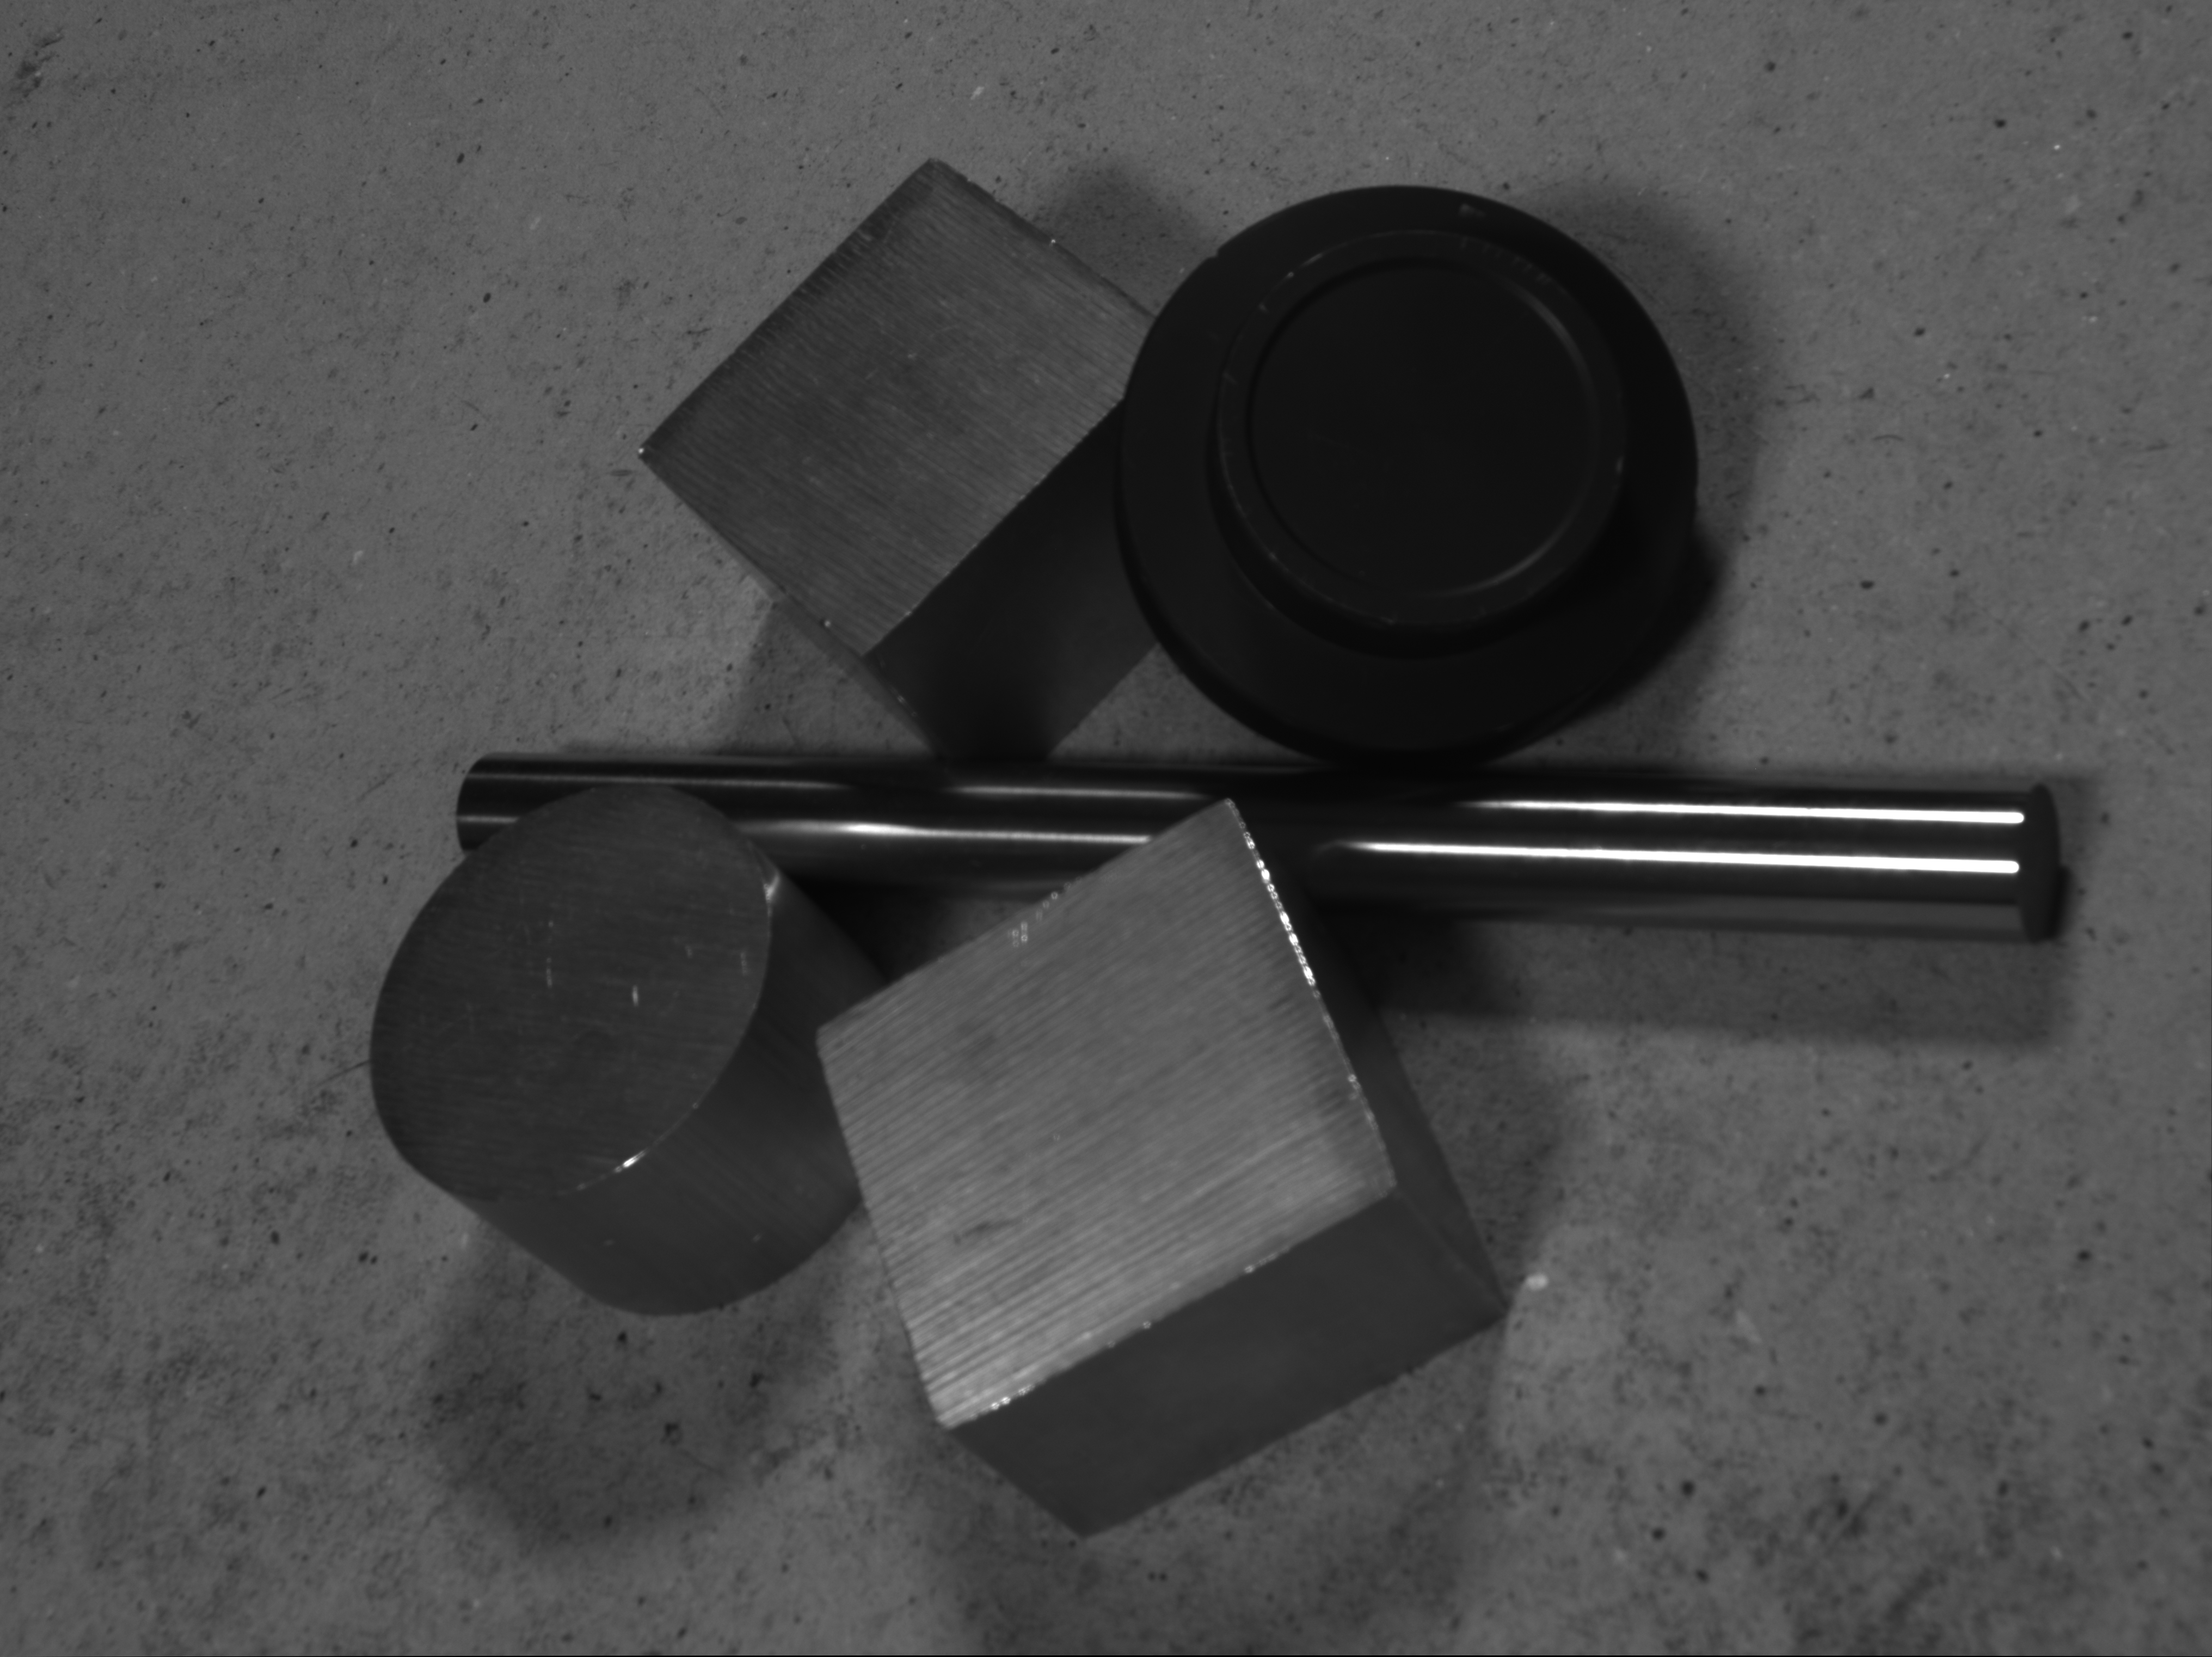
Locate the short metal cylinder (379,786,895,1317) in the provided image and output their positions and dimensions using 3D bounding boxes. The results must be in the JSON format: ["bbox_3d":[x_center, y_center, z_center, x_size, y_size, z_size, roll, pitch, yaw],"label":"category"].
[{"bbox_3d":[-0.080,0.040,0.647,0.080,0.050,0.080,-13,56,21],"label":"short metal cylinder"}]

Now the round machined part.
[{"bbox_3d":[0.051,-0.062,0.614,0.098,0.042,0.098,0,79,1],"label":"round machined part"}]

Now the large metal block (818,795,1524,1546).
[{"bbox_3d":[0.009,0.055,0.589,0.080,0.050,0.080,-29,52,10],"label":"large metal block"}]

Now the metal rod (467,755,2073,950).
[{"bbox_3d":[0.015,0.002,0.636,0.299,0.025,0.025,2,62,29],"label":"metal rod"}]

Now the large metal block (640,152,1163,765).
[{"bbox_3d":[-0.025,-0.066,0.680,0.080,0.050,0.080,-45,51,-3],"label":"large metal block"}]
